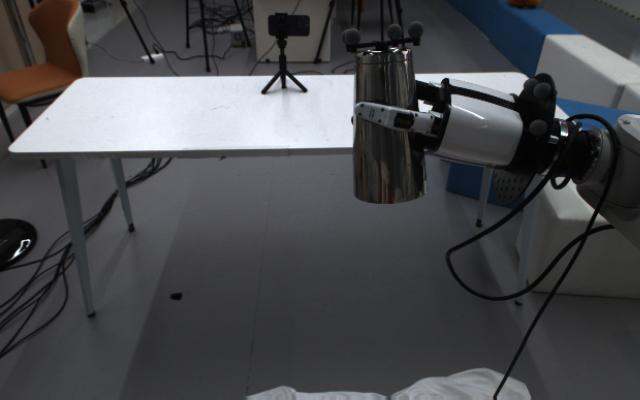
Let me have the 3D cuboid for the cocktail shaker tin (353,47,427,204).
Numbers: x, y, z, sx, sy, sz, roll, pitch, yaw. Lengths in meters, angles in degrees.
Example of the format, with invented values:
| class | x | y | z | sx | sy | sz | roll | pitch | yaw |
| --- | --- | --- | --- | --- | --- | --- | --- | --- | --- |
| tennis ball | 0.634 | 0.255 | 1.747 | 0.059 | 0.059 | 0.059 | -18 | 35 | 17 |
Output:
| class | x | y | z | sx | sy | sz | roll | pitch | yaw |
| --- | --- | --- | --- | --- | --- | --- | --- | --- | --- |
| cocktail shaker tin | 0.081 | -0.091 | 0.581 | 0.093 | 0.170 | 0.093 | -6 | 19 | 2 |
